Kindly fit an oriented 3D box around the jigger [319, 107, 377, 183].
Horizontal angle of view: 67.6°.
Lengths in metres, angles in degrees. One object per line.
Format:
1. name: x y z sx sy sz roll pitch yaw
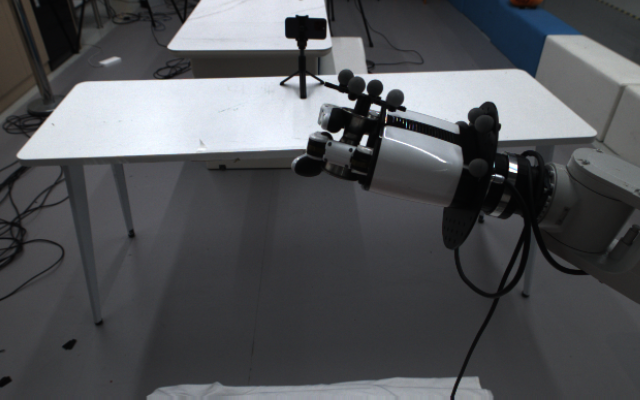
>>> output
1. jigger: 0.032 -0.059 0.515 0.043 0.071 0.043 18 17 -6
